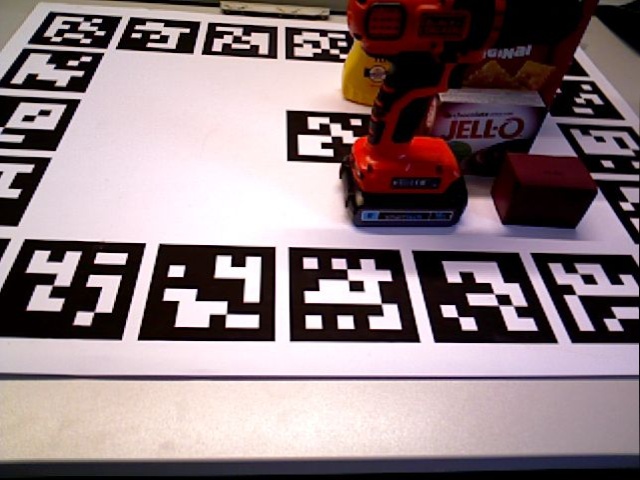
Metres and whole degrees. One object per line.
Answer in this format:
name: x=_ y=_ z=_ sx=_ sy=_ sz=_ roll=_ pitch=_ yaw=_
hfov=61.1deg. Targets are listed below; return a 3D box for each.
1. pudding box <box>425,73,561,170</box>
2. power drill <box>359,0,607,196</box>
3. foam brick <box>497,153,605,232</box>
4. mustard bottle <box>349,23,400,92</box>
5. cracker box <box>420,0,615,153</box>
pudding box: x=0.167 y=-0.118 z=0.545 sx=0.113 sy=0.092 sz=0.038 roll=2 pitch=45 yaw=-1
power drill: x=0.114 y=-0.126 z=0.449 sx=0.183 sy=0.191 sz=0.056 roll=3 pitch=43 yaw=-5
foam brick: x=0.222 y=-0.045 z=0.529 sx=0.077 sy=0.052 sz=0.052 roll=5 pitch=48 yaw=-2
mustard bottle: x=0.092 y=-0.263 z=0.607 sx=0.096 sy=0.196 sz=0.057 roll=13 pitch=47 yaw=5
cracker box: x=0.179 y=-0.190 z=0.539 sx=0.163 sy=0.218 sz=0.071 roll=1 pitch=45 yaw=-3
